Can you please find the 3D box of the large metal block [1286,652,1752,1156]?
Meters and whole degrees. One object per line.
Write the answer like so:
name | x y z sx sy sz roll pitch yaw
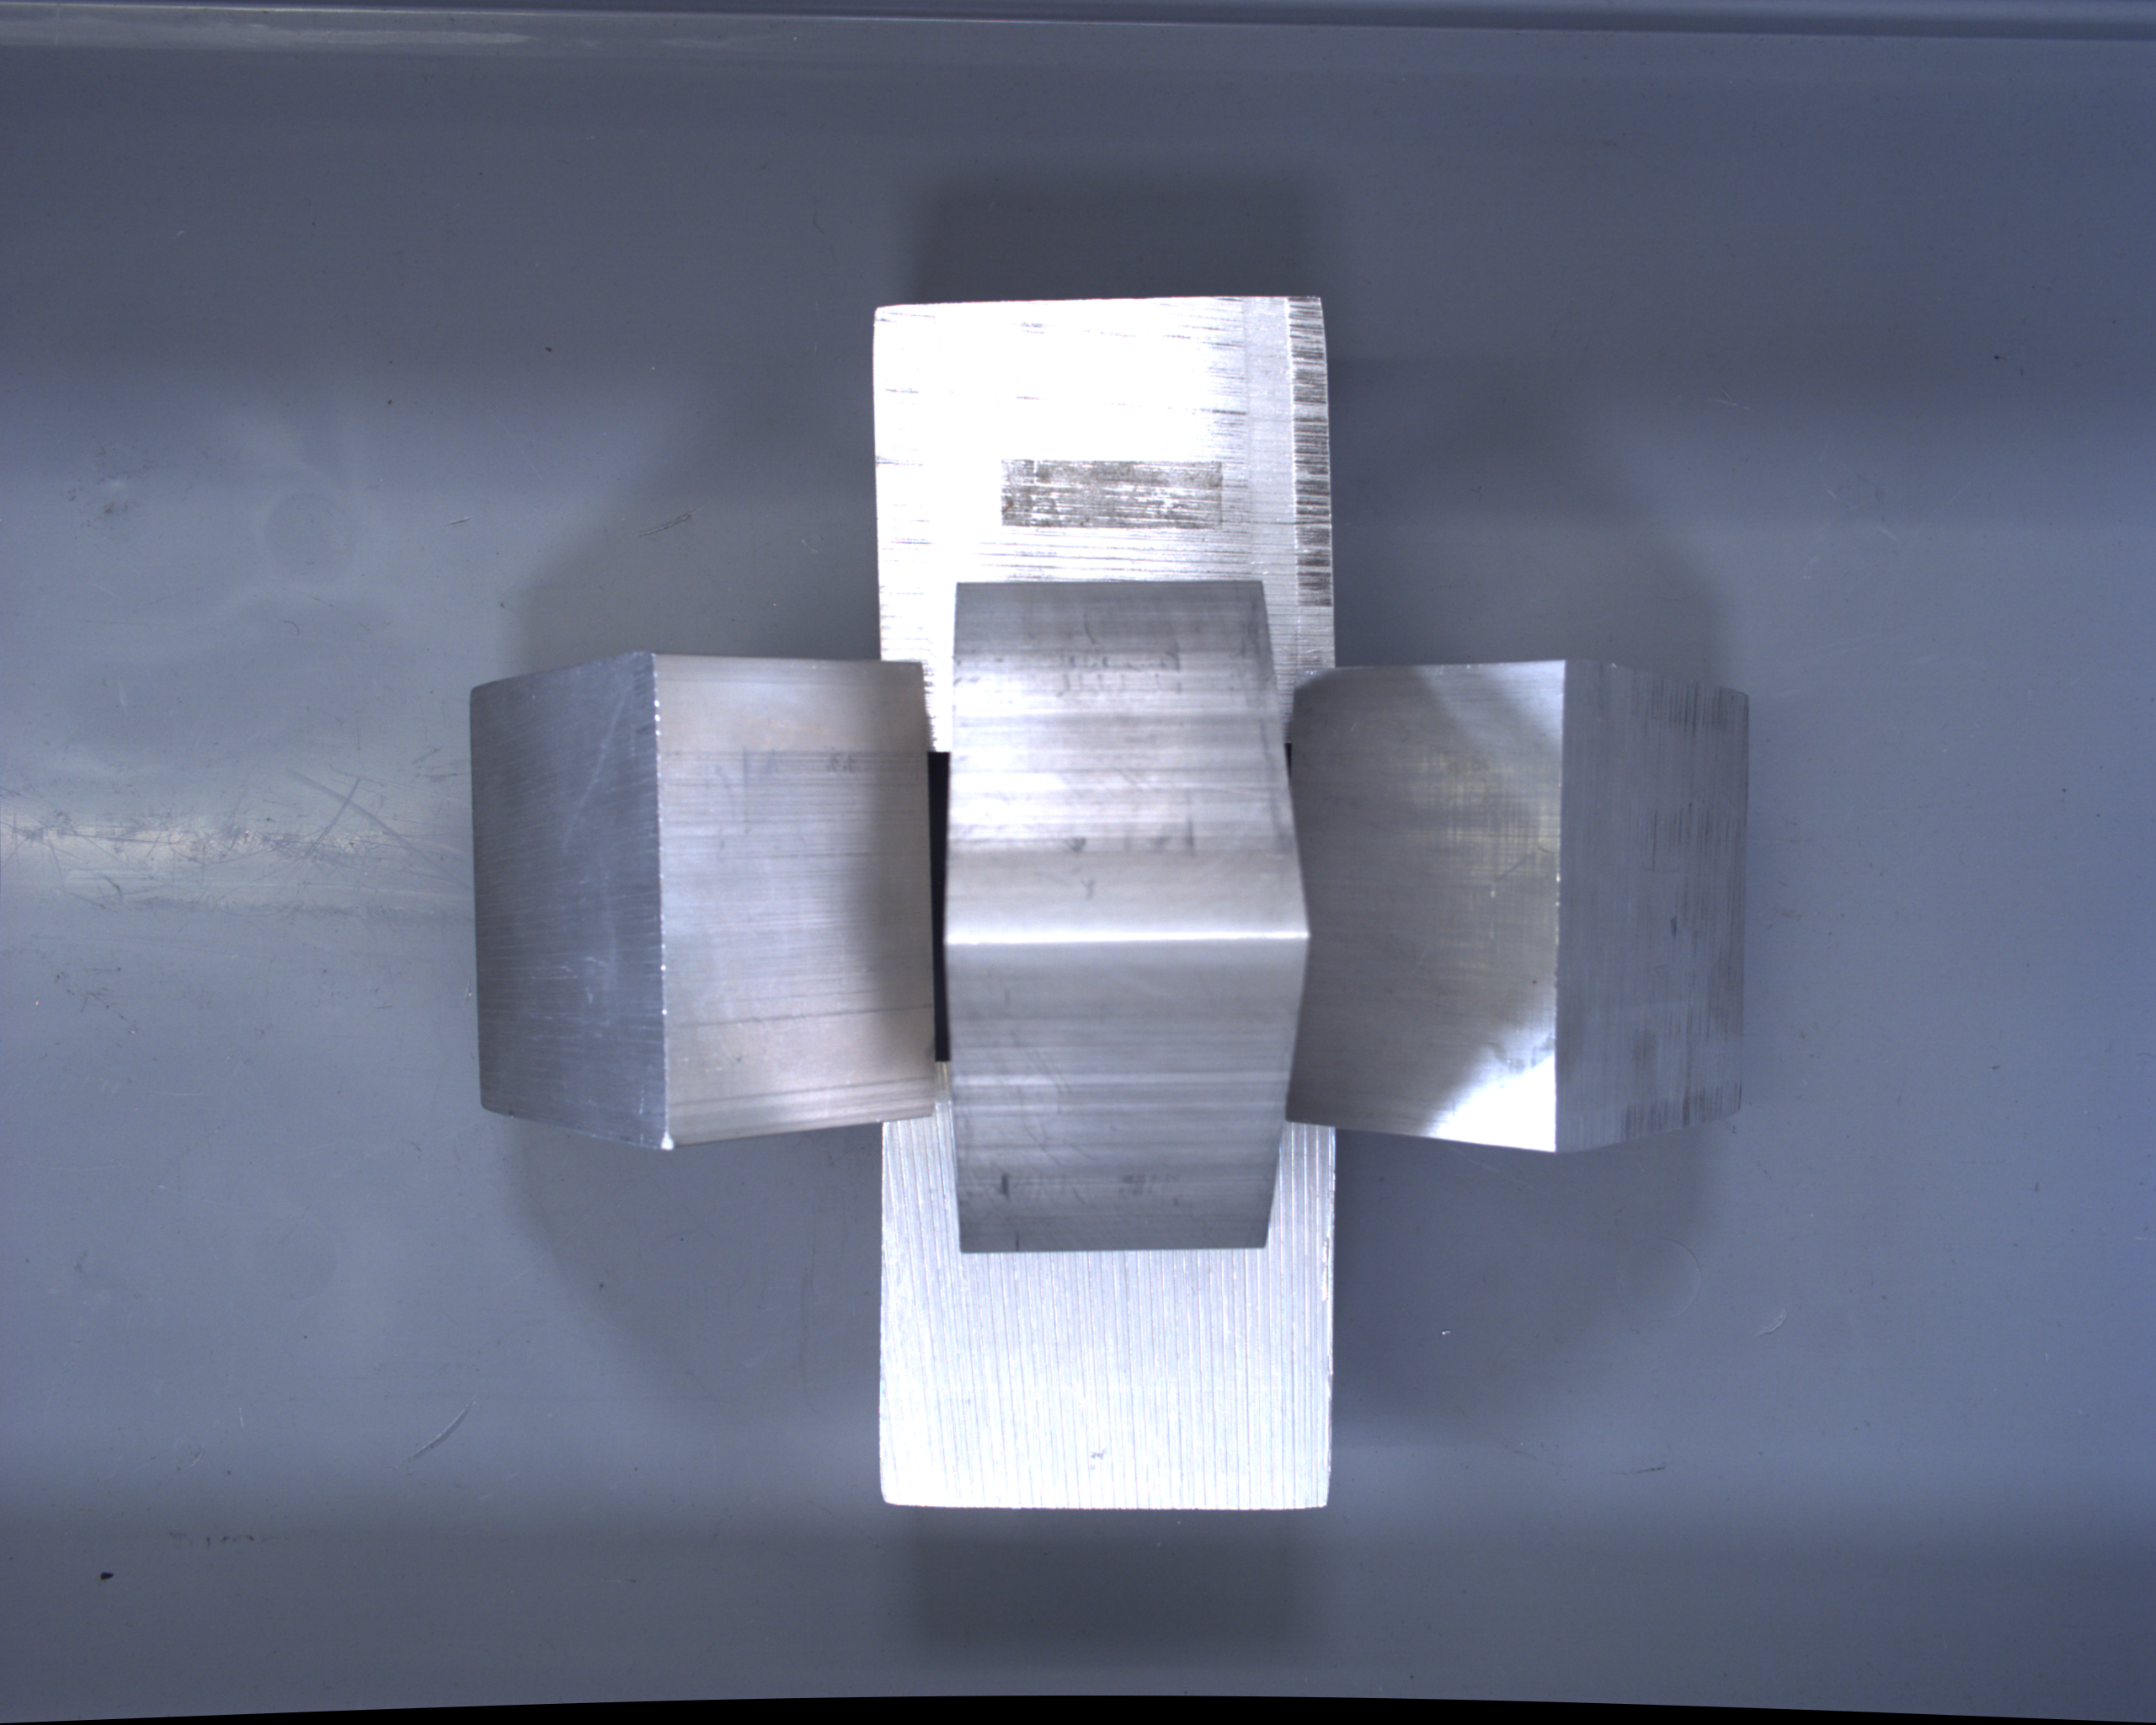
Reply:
large metal block | 0.081 0.006 0.376 0.050 0.081 0.080 2 91 39

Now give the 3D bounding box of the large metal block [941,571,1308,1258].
large metal block | 0.005 0.009 0.343 0.050 0.080 0.080 -1 46 -1

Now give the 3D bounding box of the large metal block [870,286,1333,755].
large metal block | 0.004 -0.062 0.395 0.081 0.050 0.080 -1 90 0

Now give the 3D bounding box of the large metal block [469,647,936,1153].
large metal block | -0.069 0.005 0.374 0.050 0.080 0.080 -2 91 -36

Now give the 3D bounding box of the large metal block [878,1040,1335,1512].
large metal block | 0.005 0.076 0.398 0.081 0.050 0.080 1 90 0
